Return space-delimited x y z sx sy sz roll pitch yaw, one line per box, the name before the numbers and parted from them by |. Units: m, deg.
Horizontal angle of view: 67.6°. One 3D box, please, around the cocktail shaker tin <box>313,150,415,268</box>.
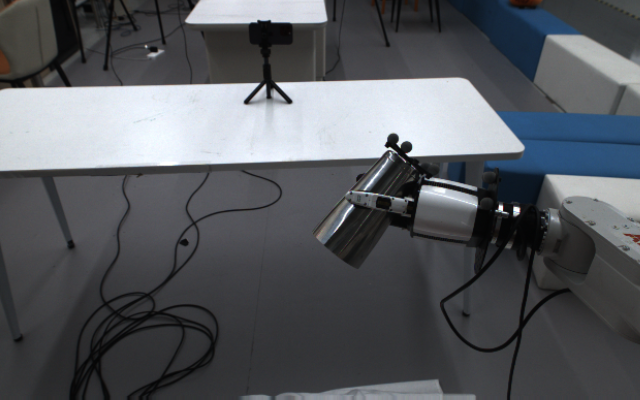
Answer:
cocktail shaker tin | 0.077 0.006 0.740 0.170 0.093 0.093 -50 46 4
